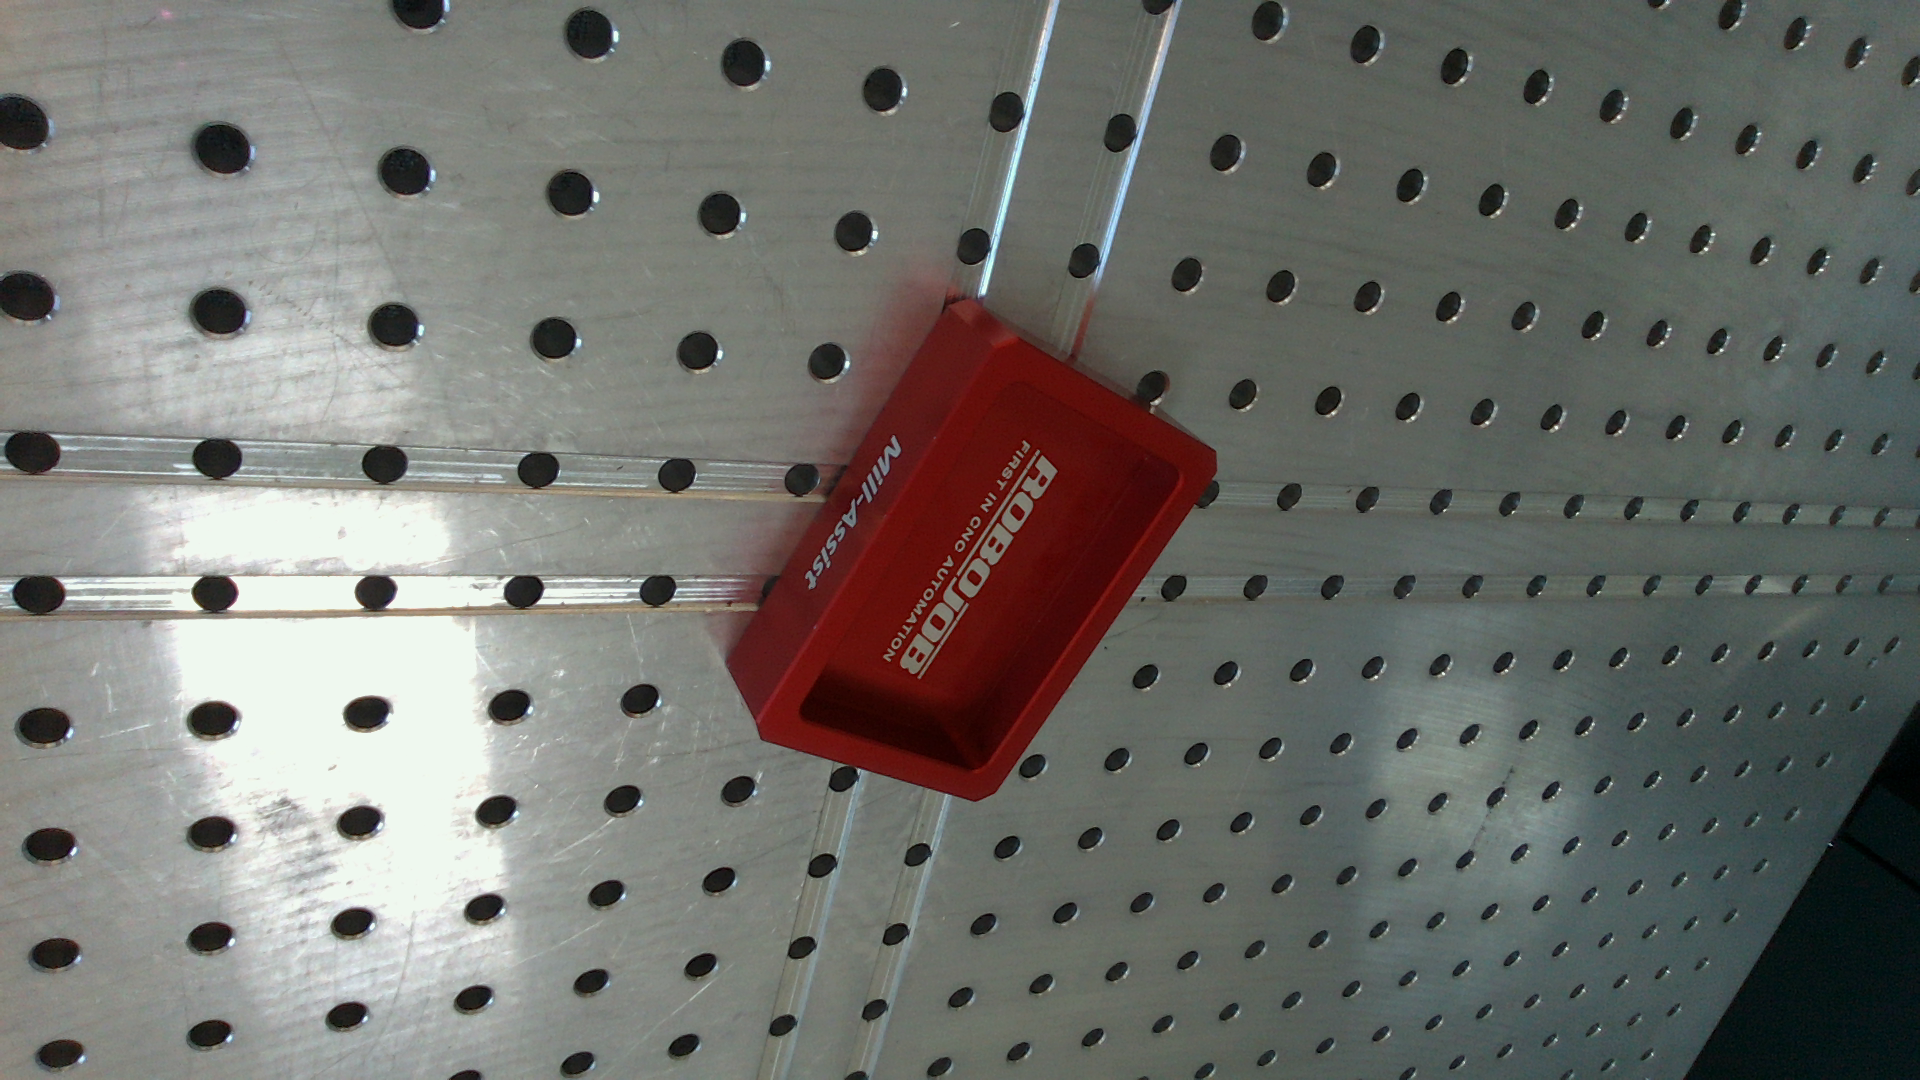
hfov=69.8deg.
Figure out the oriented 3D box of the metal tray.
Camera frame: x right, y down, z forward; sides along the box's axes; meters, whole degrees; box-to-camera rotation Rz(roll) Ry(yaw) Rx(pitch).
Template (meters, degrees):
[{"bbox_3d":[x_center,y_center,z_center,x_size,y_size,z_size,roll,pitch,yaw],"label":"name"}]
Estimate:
[{"bbox_3d":[0.004,0.008,0.395,0.090,0.030,0.130,23,106,-37],"label":"metal tray"}]
